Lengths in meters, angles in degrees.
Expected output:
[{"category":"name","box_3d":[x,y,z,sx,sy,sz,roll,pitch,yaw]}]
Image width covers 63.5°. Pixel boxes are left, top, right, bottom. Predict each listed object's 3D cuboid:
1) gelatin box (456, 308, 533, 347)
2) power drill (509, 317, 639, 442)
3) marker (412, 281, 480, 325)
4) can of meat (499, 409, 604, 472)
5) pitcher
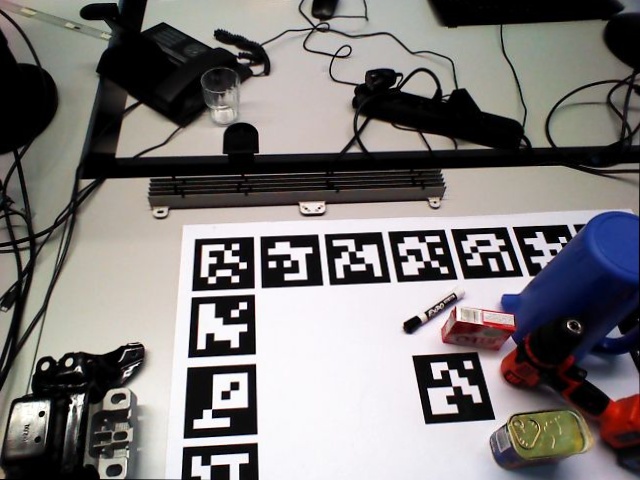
[{"category":"gelatin box","box_3d":[0.254,0.129,0.760,0.089,0.073,0.030,8,61,1]},{"category":"power drill","box_3d":[0.358,0.179,0.666,0.187,0.185,0.057,31,64,10]},{"category":"marker","box_3d":[0.196,0.099,0.807,0.121,0.020,0.019,-26,62,-16]},{"category":"can of meat","box_3d":[0.293,0.260,0.667,0.102,0.084,0.057,-3,55,-4]},{"category":"pitcher","box_3d":[0.401,0.079,0.704,0.189,0.243,0.132,23,62,20]}]
